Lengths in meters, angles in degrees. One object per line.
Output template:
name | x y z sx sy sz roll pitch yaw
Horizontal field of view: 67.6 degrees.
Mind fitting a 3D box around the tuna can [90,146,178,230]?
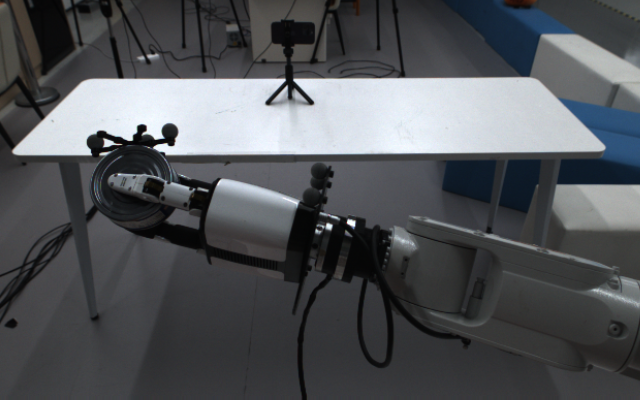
tuna can | -0.189 -0.008 0.504 0.085 0.034 0.085 0 72 -1
